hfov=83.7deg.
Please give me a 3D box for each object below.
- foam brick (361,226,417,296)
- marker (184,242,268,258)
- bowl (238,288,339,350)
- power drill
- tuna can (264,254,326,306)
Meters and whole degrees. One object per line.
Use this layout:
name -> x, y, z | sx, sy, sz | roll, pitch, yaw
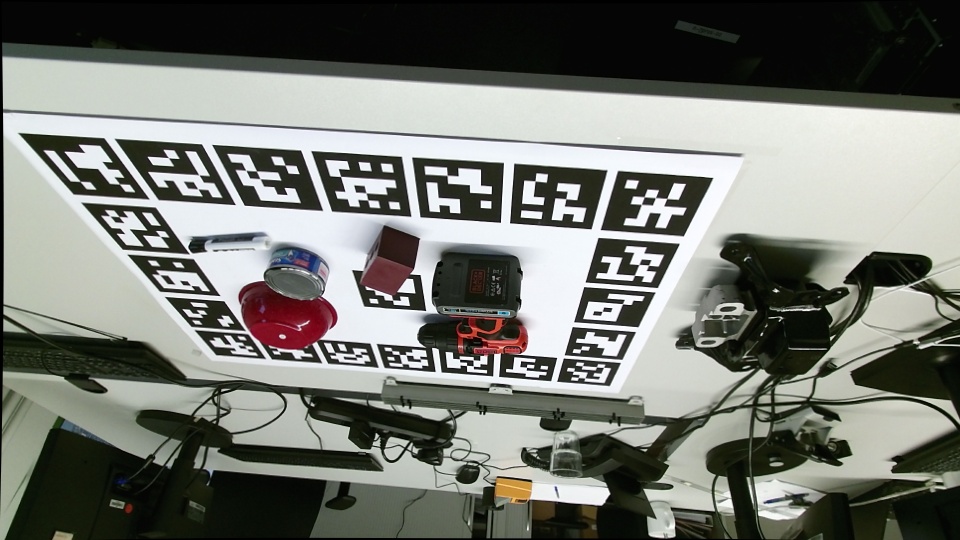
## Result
foam brick -> -0.125, -0.011, 0.718 | 0.051, 0.052, 0.078 | 20, 140, -15
marker -> -0.354, -0.028, 0.742 | 0.121, 0.019, 0.020 | -2, 141, 11
bowl -> -0.319, 0.090, 0.882 | 0.162, 0.055, 0.162 | 2, 150, 1
power drill -> -0.010, 0.069, 0.799 | 0.185, 0.057, 0.187 | 6, 145, 6
tuna can -> -0.269, 0.015, 0.776 | 0.086, 0.033, 0.086 | 6, 143, 4
